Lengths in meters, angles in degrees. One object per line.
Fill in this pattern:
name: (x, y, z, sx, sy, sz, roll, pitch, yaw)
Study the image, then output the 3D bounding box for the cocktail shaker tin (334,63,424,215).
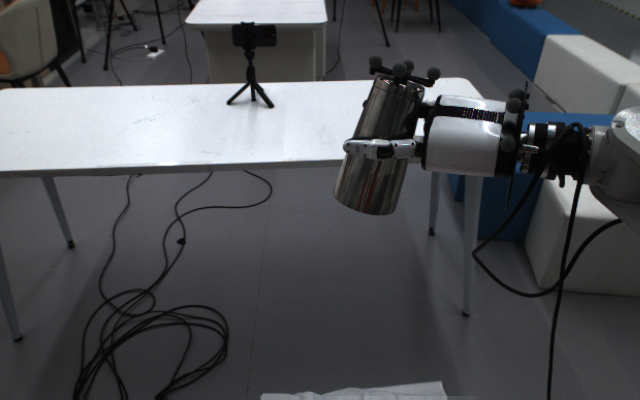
cocktail shaker tin: (0.085, -0.078, 0.651, 0.093, 0.170, 0.093, 12, 24, -5)
